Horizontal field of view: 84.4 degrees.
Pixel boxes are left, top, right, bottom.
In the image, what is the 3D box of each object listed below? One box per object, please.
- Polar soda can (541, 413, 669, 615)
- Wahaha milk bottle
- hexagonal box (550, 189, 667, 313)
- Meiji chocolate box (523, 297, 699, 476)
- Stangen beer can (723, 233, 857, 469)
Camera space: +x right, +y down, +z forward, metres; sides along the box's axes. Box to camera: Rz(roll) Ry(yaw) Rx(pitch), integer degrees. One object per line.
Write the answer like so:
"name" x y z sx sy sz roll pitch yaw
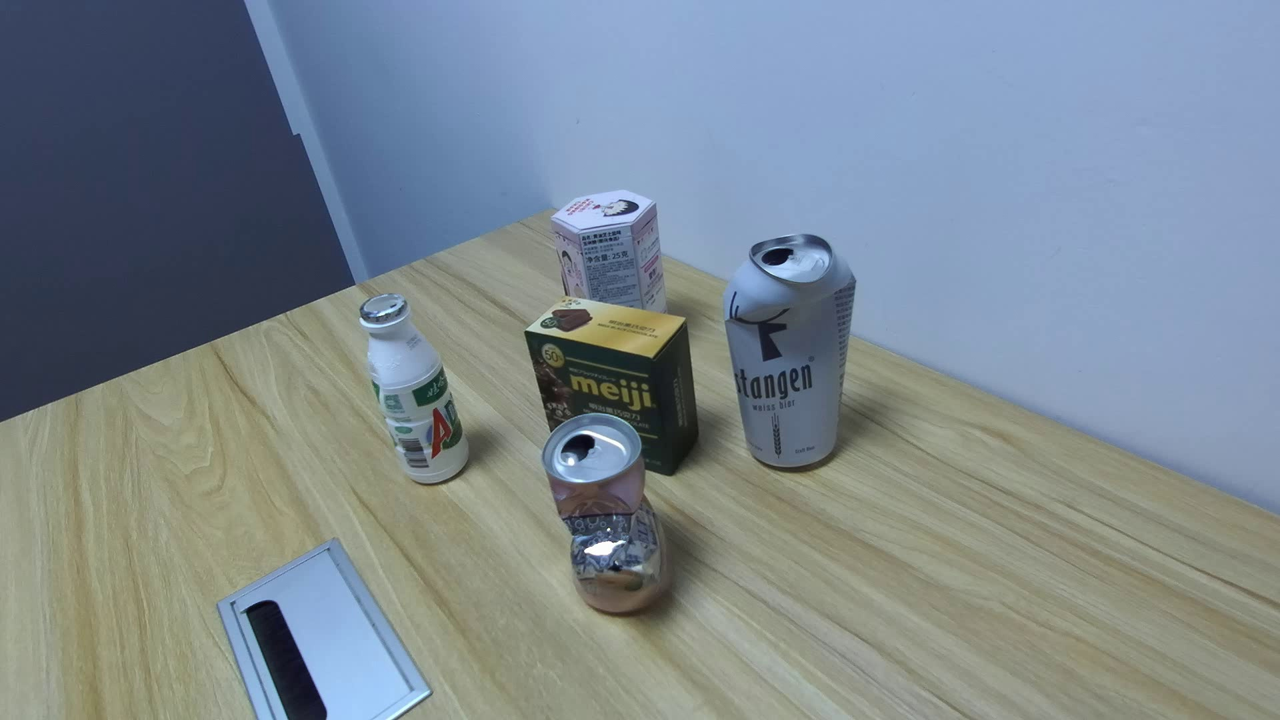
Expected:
"Polar soda can" -0.017 0.092 0.416 0.074 0.114 0.070 20 49 39
"Wahaha milk bottle" -0.167 0.027 0.522 0.053 0.137 0.053 -4 34 3
"hexagonal box" -0.025 -0.073 0.634 0.083 0.136 0.091 9 37 23
"Meiji chocolate box" -0.018 0.018 0.524 0.109 0.109 0.056 12 39 27
"Stangen beer can" 0.102 -0.002 0.481 0.065 0.162 0.077 16 42 32
